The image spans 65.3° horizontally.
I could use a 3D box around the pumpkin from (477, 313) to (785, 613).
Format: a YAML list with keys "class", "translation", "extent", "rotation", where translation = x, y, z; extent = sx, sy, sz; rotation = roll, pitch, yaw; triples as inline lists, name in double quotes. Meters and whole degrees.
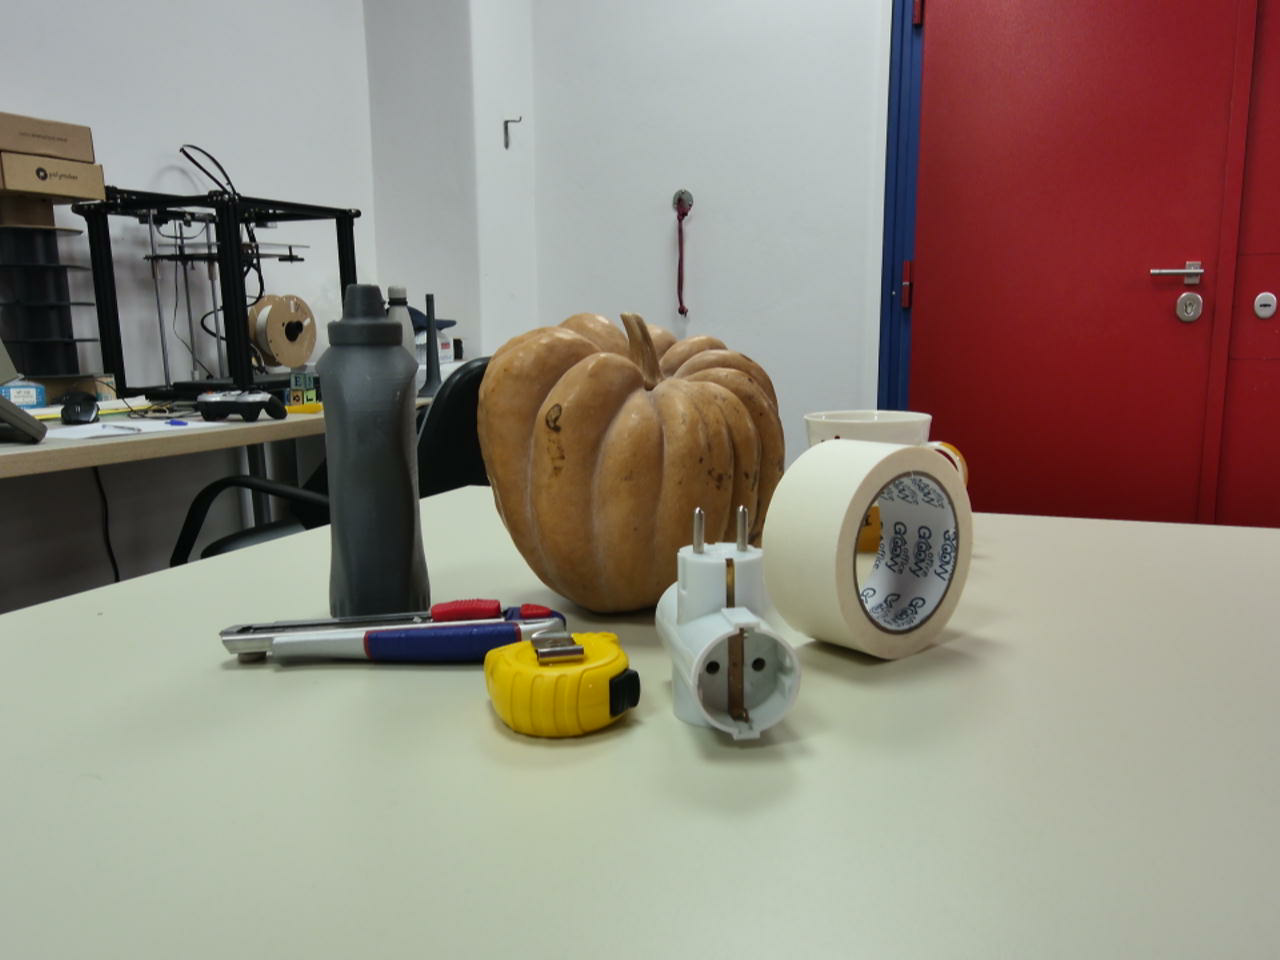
- class: "pumpkin"
  translation: [-0.008, -0.013, 0.608]
  extent: [0.199, 0.177, 0.198]
  rotation: [0, 7, 0]
